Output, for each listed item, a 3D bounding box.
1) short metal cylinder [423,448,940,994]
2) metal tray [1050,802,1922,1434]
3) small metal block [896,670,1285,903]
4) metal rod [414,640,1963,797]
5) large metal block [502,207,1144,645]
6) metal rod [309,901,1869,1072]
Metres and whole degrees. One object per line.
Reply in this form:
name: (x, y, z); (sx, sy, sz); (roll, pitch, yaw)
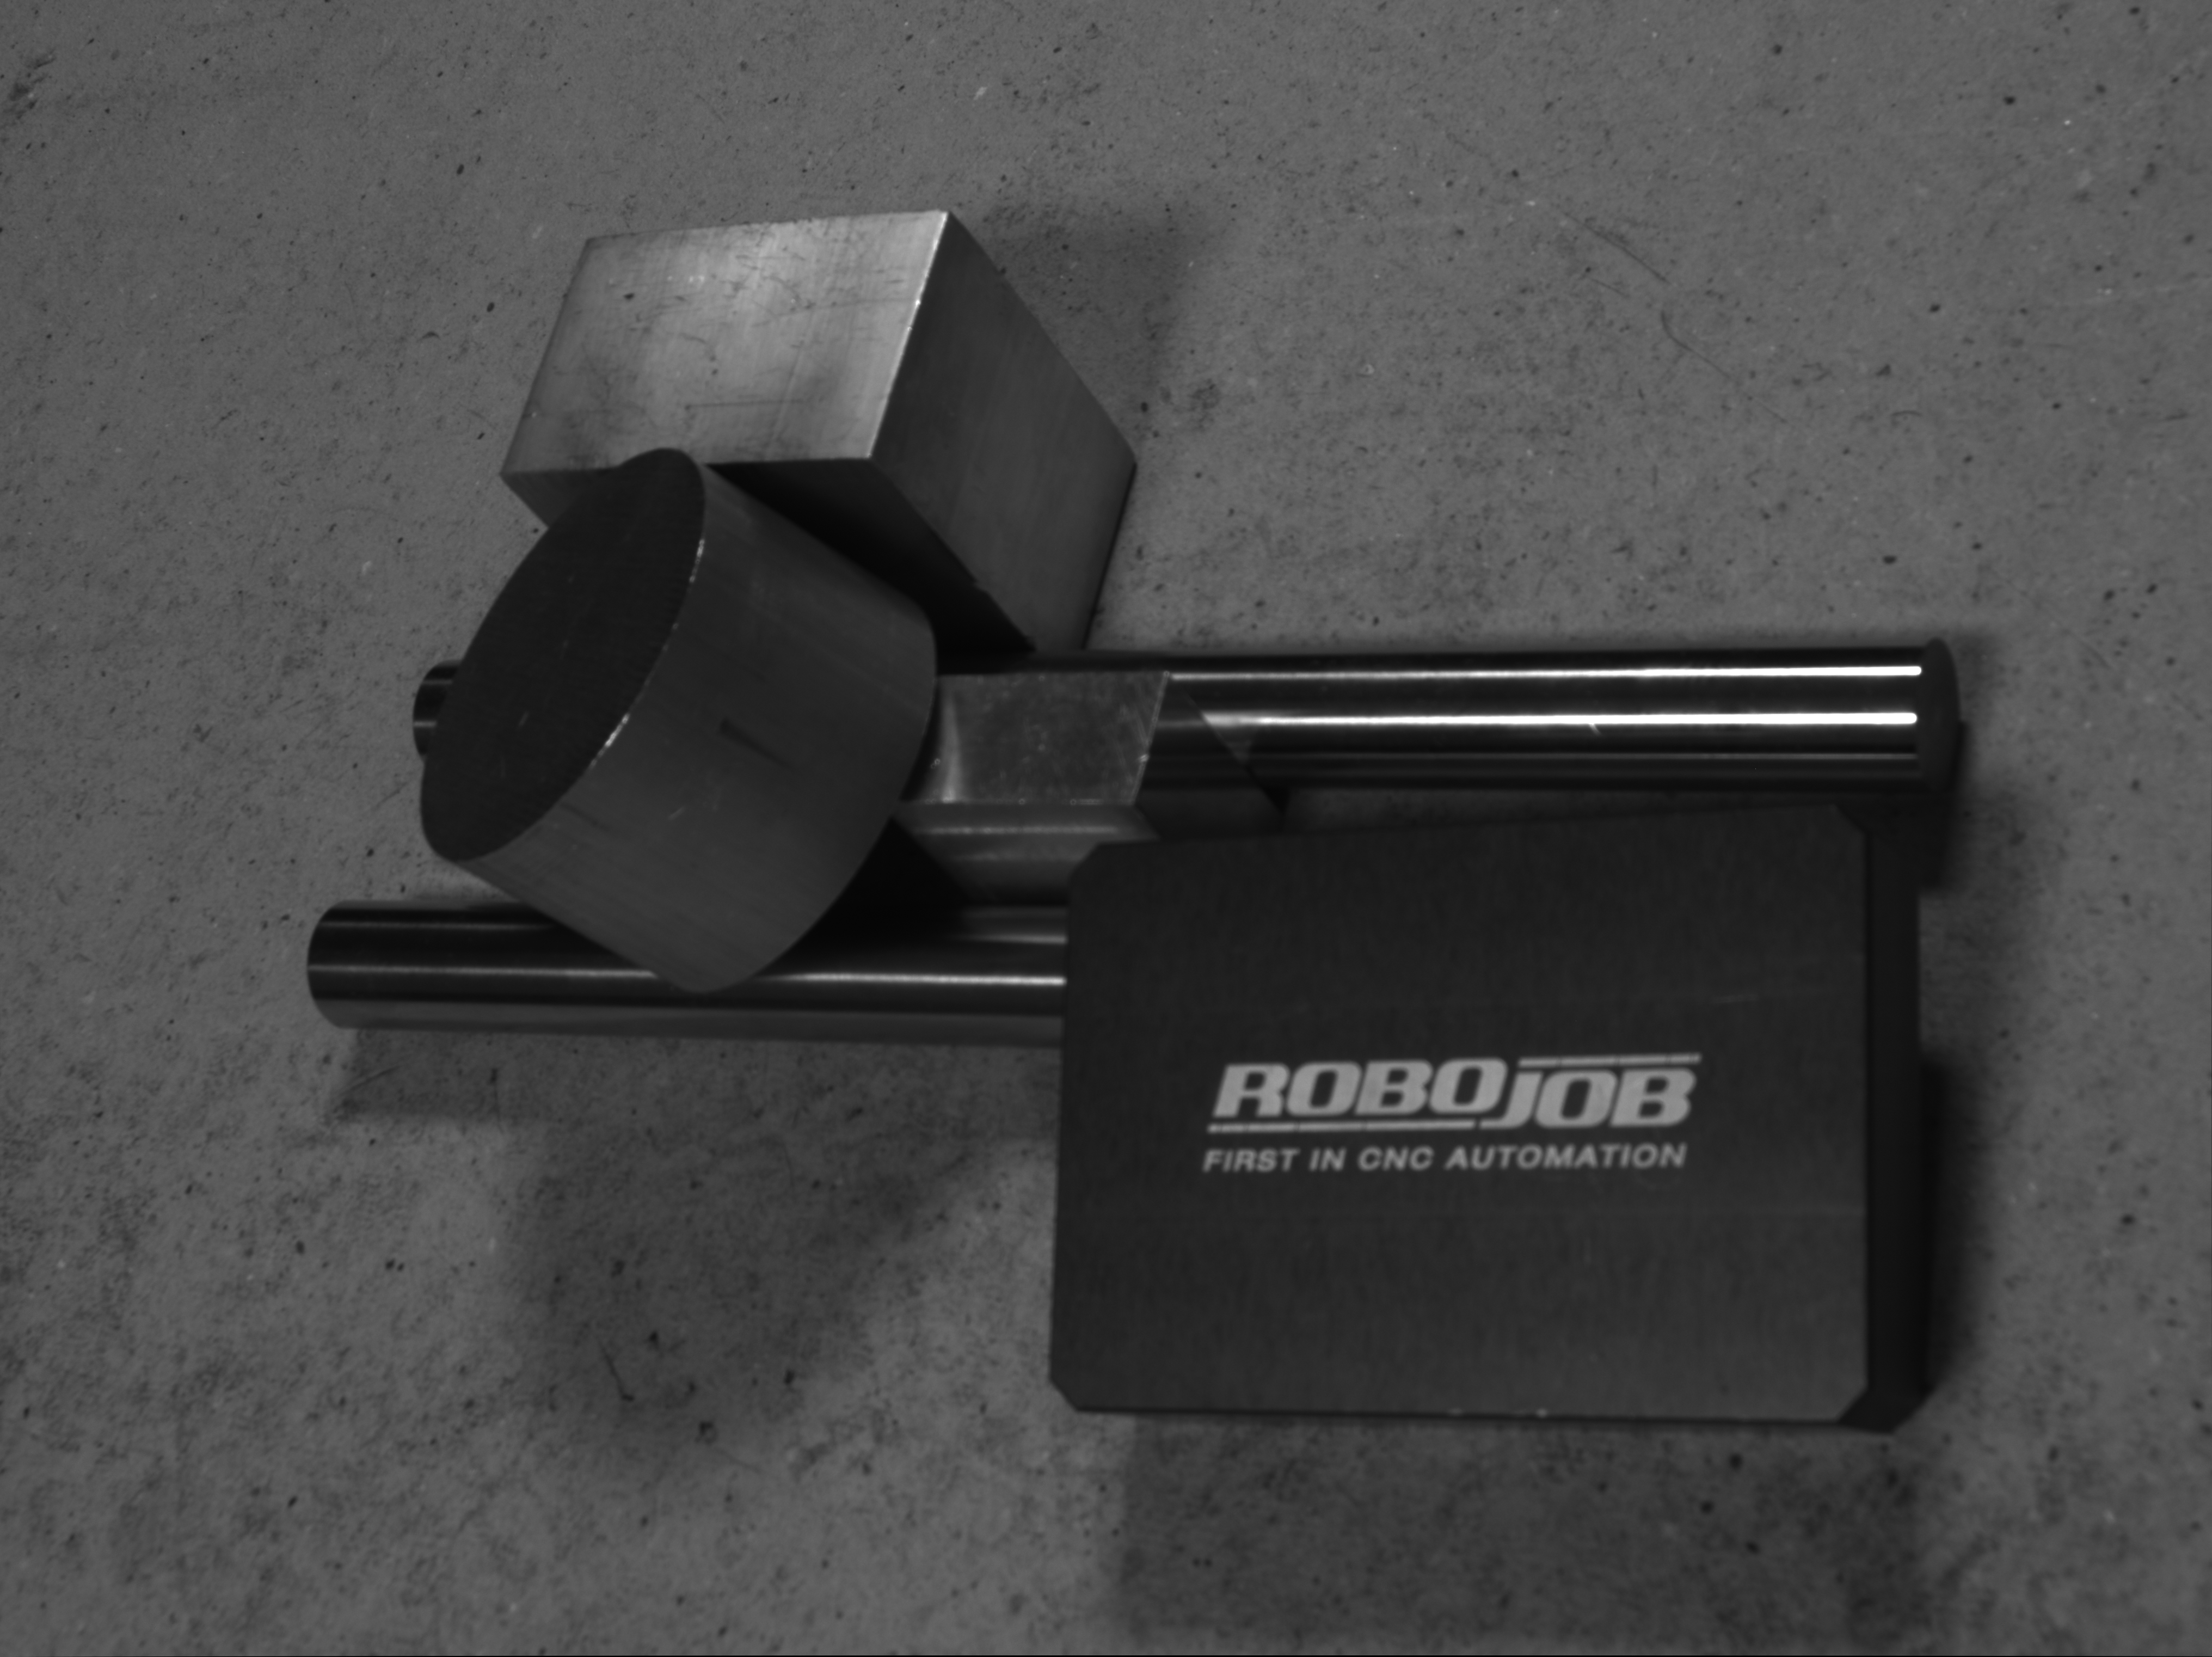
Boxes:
short metal cylinder: (-0.074, -0.018, 0.634); (0.080, 0.050, 0.080); (-36, 36, 33)
metal tray: (0.057, 0.046, 0.564); (0.130, 0.030, 0.090); (-3, 78, 25)
small metal block: (-0.004, -0.004, 0.632); (0.050, 0.050, 0.025); (1, 62, 29)
metal rod: (0.002, -0.019, 0.656); (0.299, 0.025, 0.025); (1, 62, 29)
large metal block: (-0.051, -0.068, 0.679); (0.080, 0.080, 0.050); (1, 62, 29)
metal rod: (-0.014, 0.026, 0.636); (0.299, 0.025, 0.025); (0, 61, 28)
